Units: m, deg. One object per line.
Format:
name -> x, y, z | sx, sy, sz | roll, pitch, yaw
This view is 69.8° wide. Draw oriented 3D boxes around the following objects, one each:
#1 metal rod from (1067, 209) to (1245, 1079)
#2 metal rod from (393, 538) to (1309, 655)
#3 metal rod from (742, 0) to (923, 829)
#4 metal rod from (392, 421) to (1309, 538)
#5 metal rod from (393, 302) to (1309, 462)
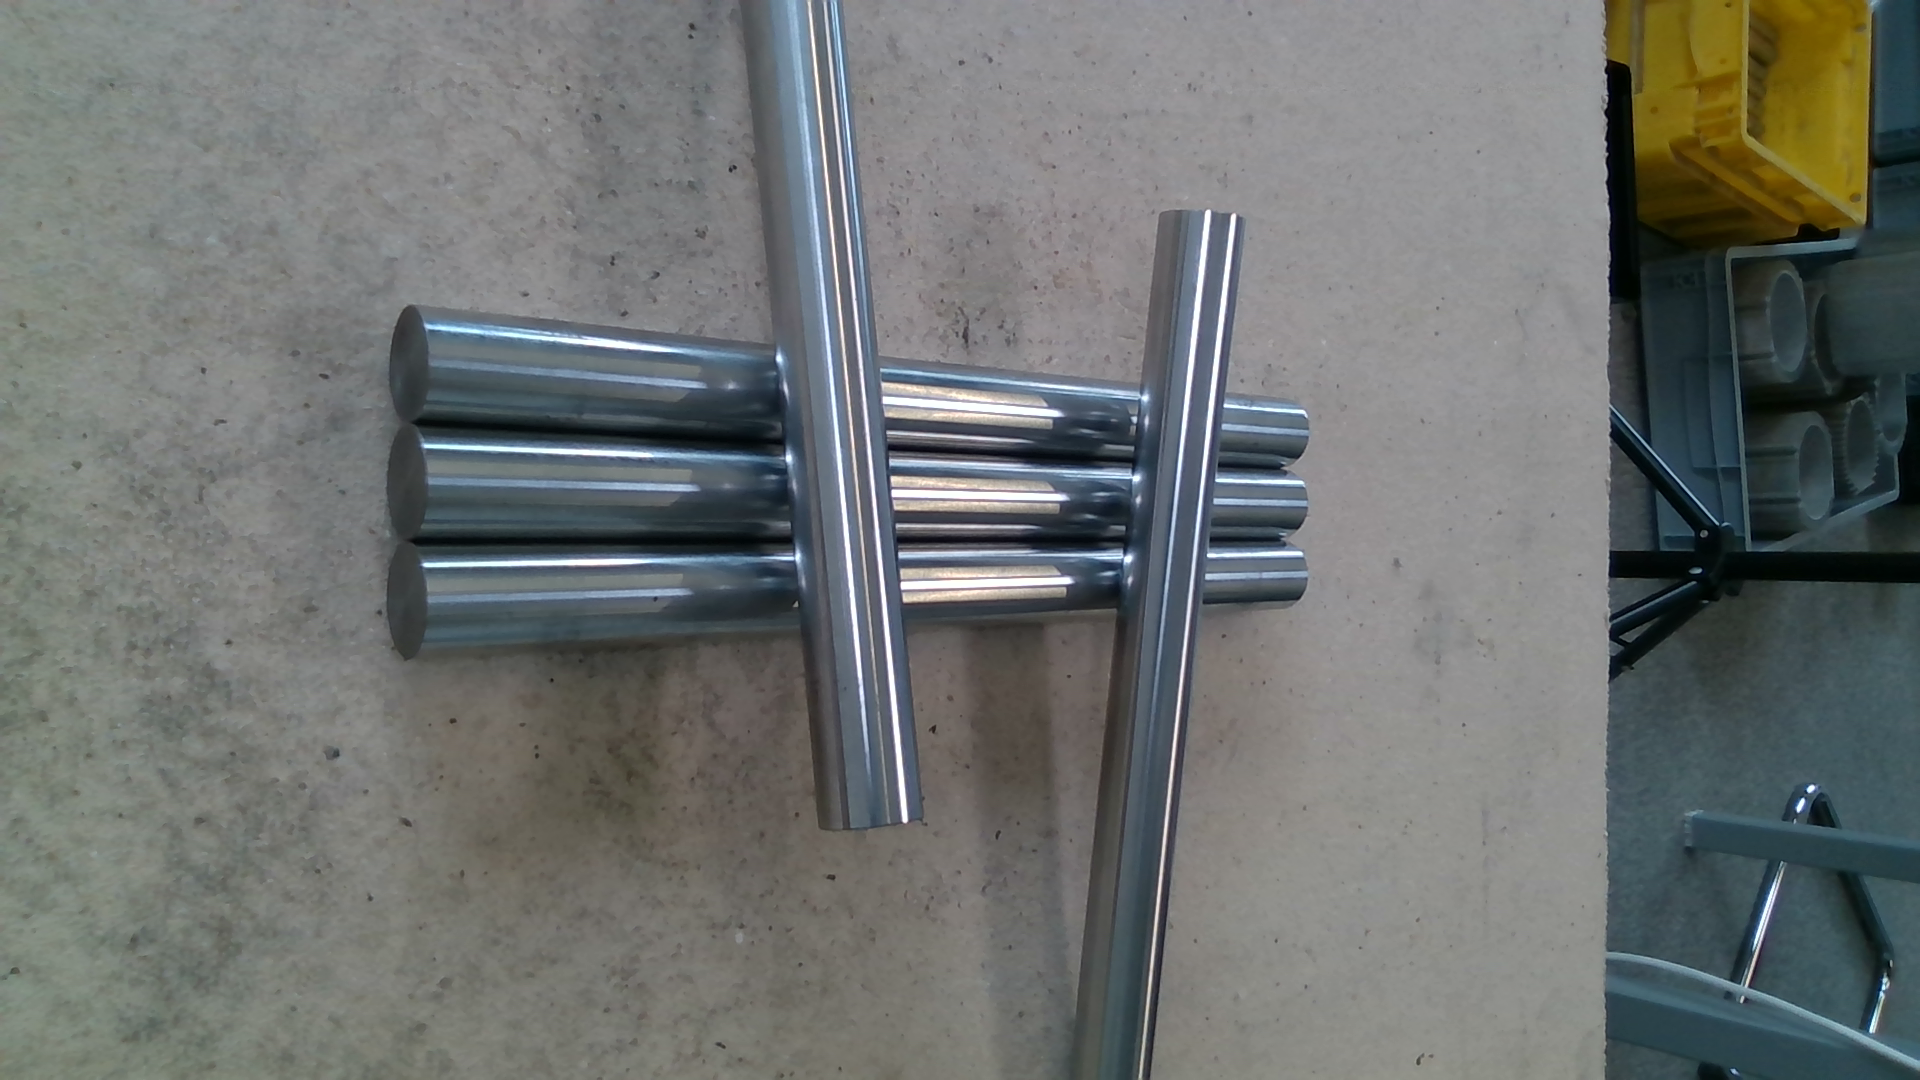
metal rod -> 0.056, 0.055, 0.414 | 0.025, 0.025, 0.300 | 1, 97, -40
metal rod -> -0.002, 0.012, 0.389 | 0.300, 0.025, 0.025 | 0, 90, -40
metal rod -> -0.036, -0.083, 0.336 | 0.025, 0.025, 0.300 | -2, 84, -40
metal rod -> -0.002, -0.013, 0.389 | 0.300, 0.025, 0.025 | 0, 90, -40
metal rod -> -0.002, -0.038, 0.389 | 0.300, 0.025, 0.025 | 0, 90, -40
